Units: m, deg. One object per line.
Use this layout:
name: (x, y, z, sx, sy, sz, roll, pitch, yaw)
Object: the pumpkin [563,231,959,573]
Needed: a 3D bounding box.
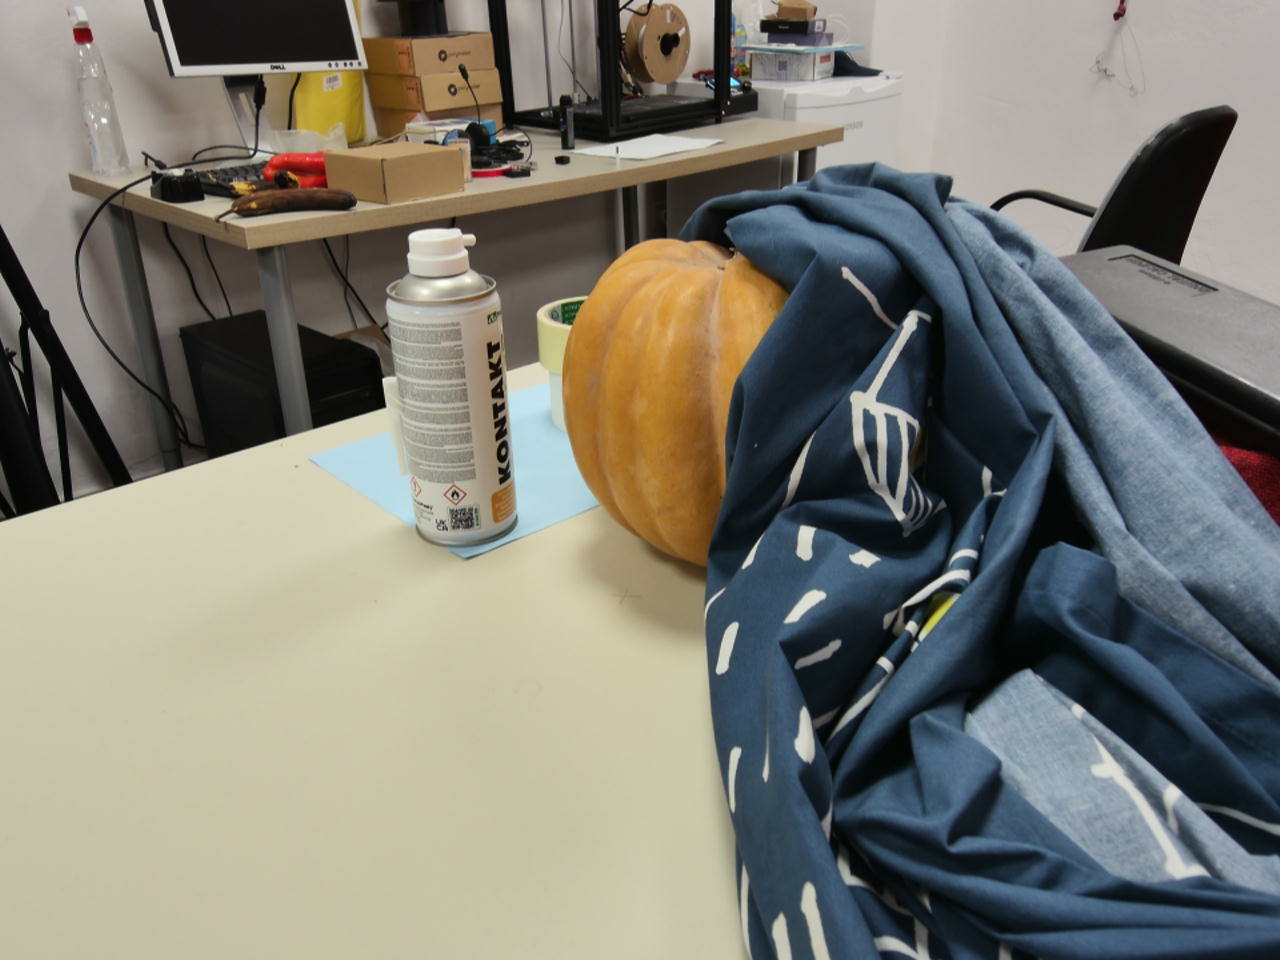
pumpkin: (0.067, -0.049, 0.585, 0.230, 0.194, 0.230, 0, 24, 0)
